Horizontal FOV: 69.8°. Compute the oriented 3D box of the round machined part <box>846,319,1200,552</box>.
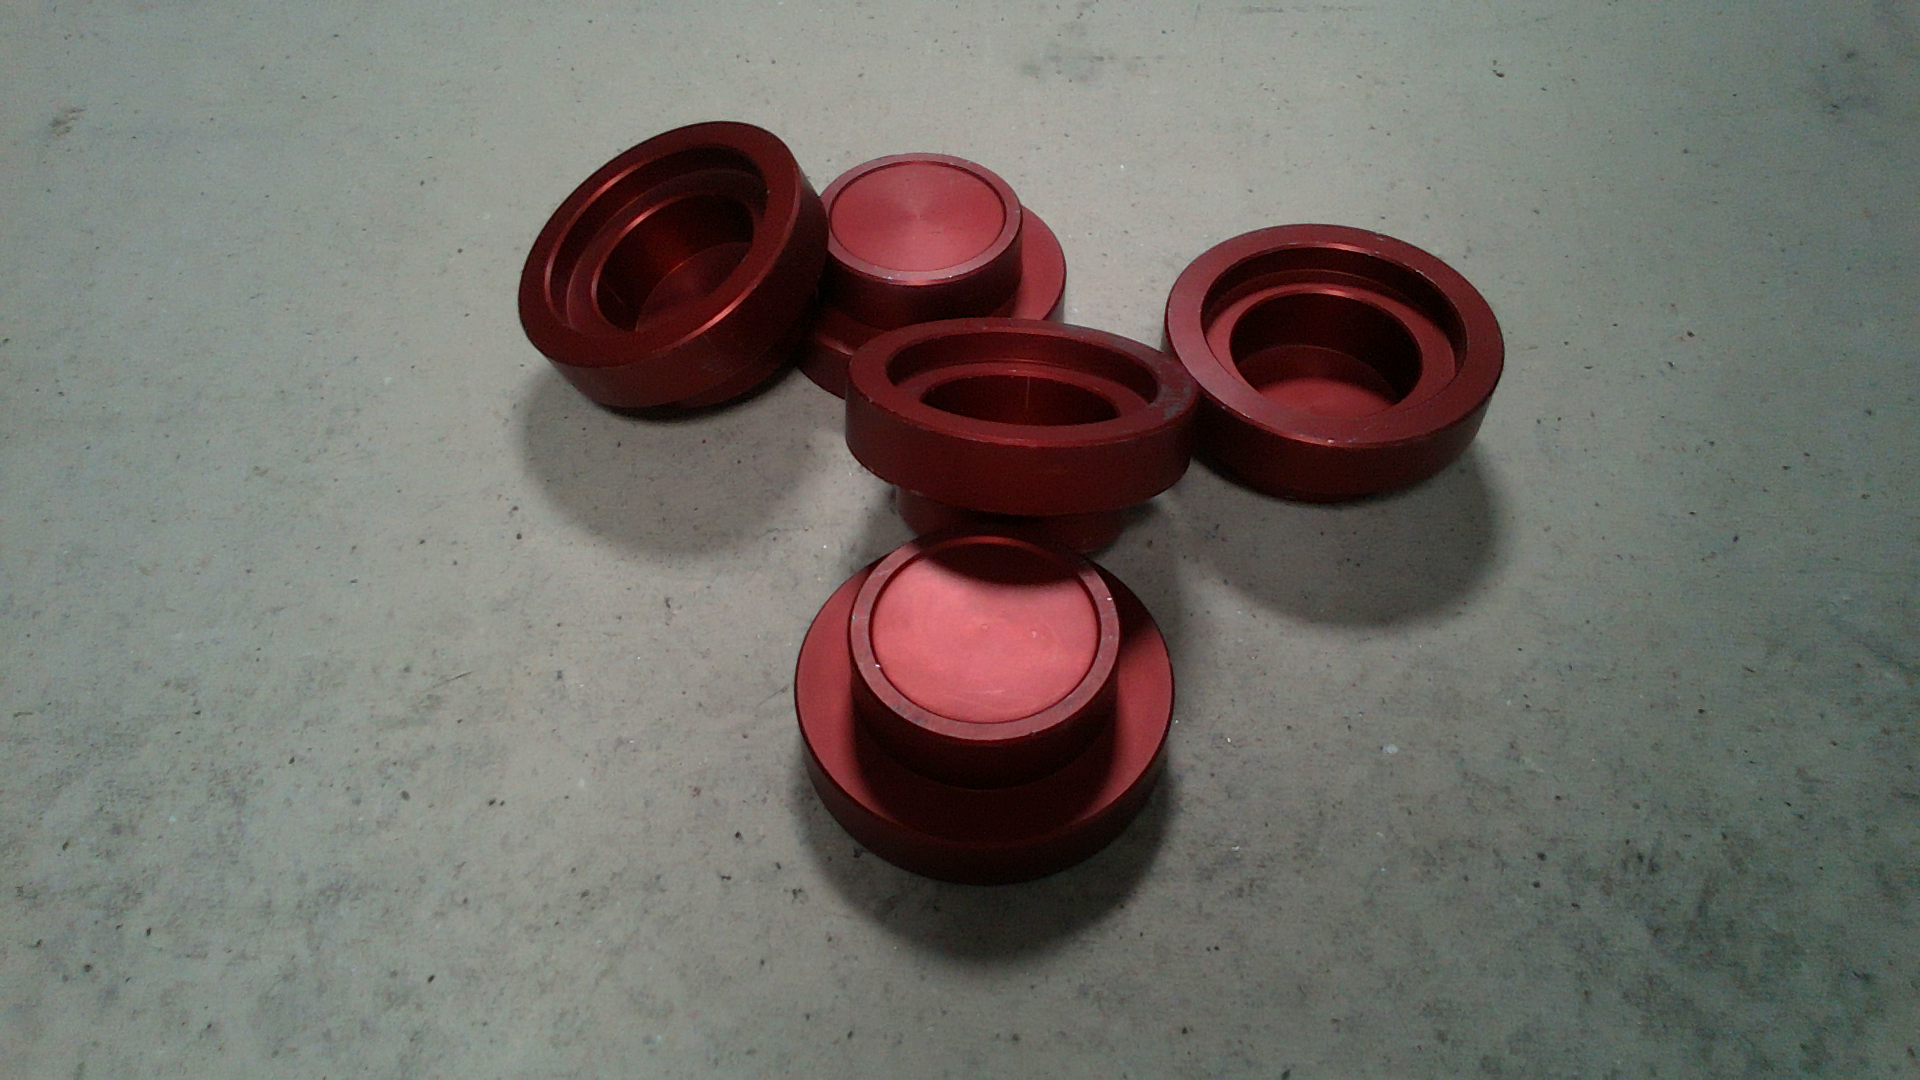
[{"bbox_3d":[0.017,-0.028,0.390,0.098,0.042,0.098,2,27,-1],"label":"round machined part"}]

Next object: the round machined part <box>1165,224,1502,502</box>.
[{"bbox_3d":[0.110,-0.050,0.423,0.098,0.042,0.098,0,50,0],"label":"round machined part"}]

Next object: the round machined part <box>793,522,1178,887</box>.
[{"bbox_3d":[0.007,0.034,0.351,0.098,0.042,0.098,0,50,0],"label":"round machined part"}]

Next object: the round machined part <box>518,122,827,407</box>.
[{"bbox_3d":[-0.086,-0.082,0.435,0.098,0.042,0.098,-12,55,18],"label":"round machined part"}]

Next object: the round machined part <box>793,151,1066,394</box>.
[{"bbox_3d":[-0.014,-0.092,0.457,0.098,0.042,0.098,0,50,0],"label":"round machined part"}]
